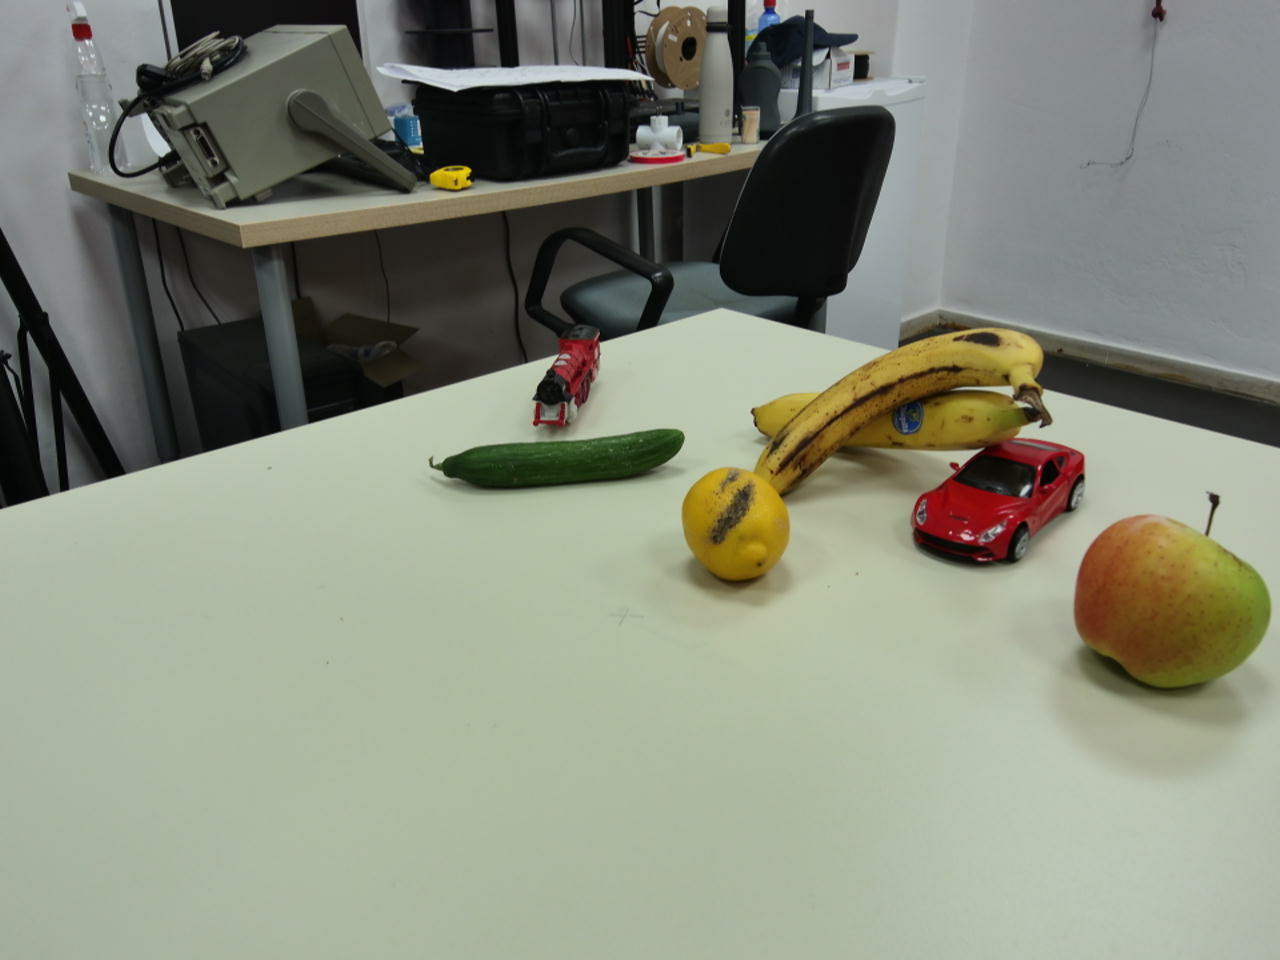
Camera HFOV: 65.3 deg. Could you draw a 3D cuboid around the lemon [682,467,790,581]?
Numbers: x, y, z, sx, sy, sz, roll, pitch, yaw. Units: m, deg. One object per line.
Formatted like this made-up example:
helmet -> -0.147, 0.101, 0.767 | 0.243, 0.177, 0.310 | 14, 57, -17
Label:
lemon -> 0.051, 0.023, 0.532 | 0.061, 0.056, 0.058 | 19, 30, 37
